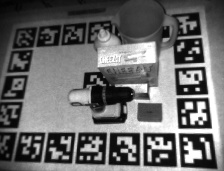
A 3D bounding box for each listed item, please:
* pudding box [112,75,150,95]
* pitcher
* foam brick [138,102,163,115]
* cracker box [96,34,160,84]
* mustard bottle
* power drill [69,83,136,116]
[{"bbox_3d":[0.064,0.000,0.711,0.113,0.091,0.038,-4,70,14],"label":"pudding box"},{"bbox_3d":[0.105,-0.165,0.692,0.187,0.245,0.133,2,73,15],"label":"pitcher"},{"bbox_3d":[0.127,0.067,0.712,0.077,0.052,0.052,-2,74,12],"label":"foam brick"},{"bbox_3d":[0.060,-0.063,0.674,0.163,0.216,0.072,-7,69,13],"label":"cracker box"},{"bbox_3d":[-0.022,-0.153,0.726,0.095,0.193,0.058,9,76,16],"label":"mustard bottle"},{"bbox_3d":[-0.012,0.041,0.640,0.184,0.188,0.057,-5,68,10],"label":"power drill"}]
